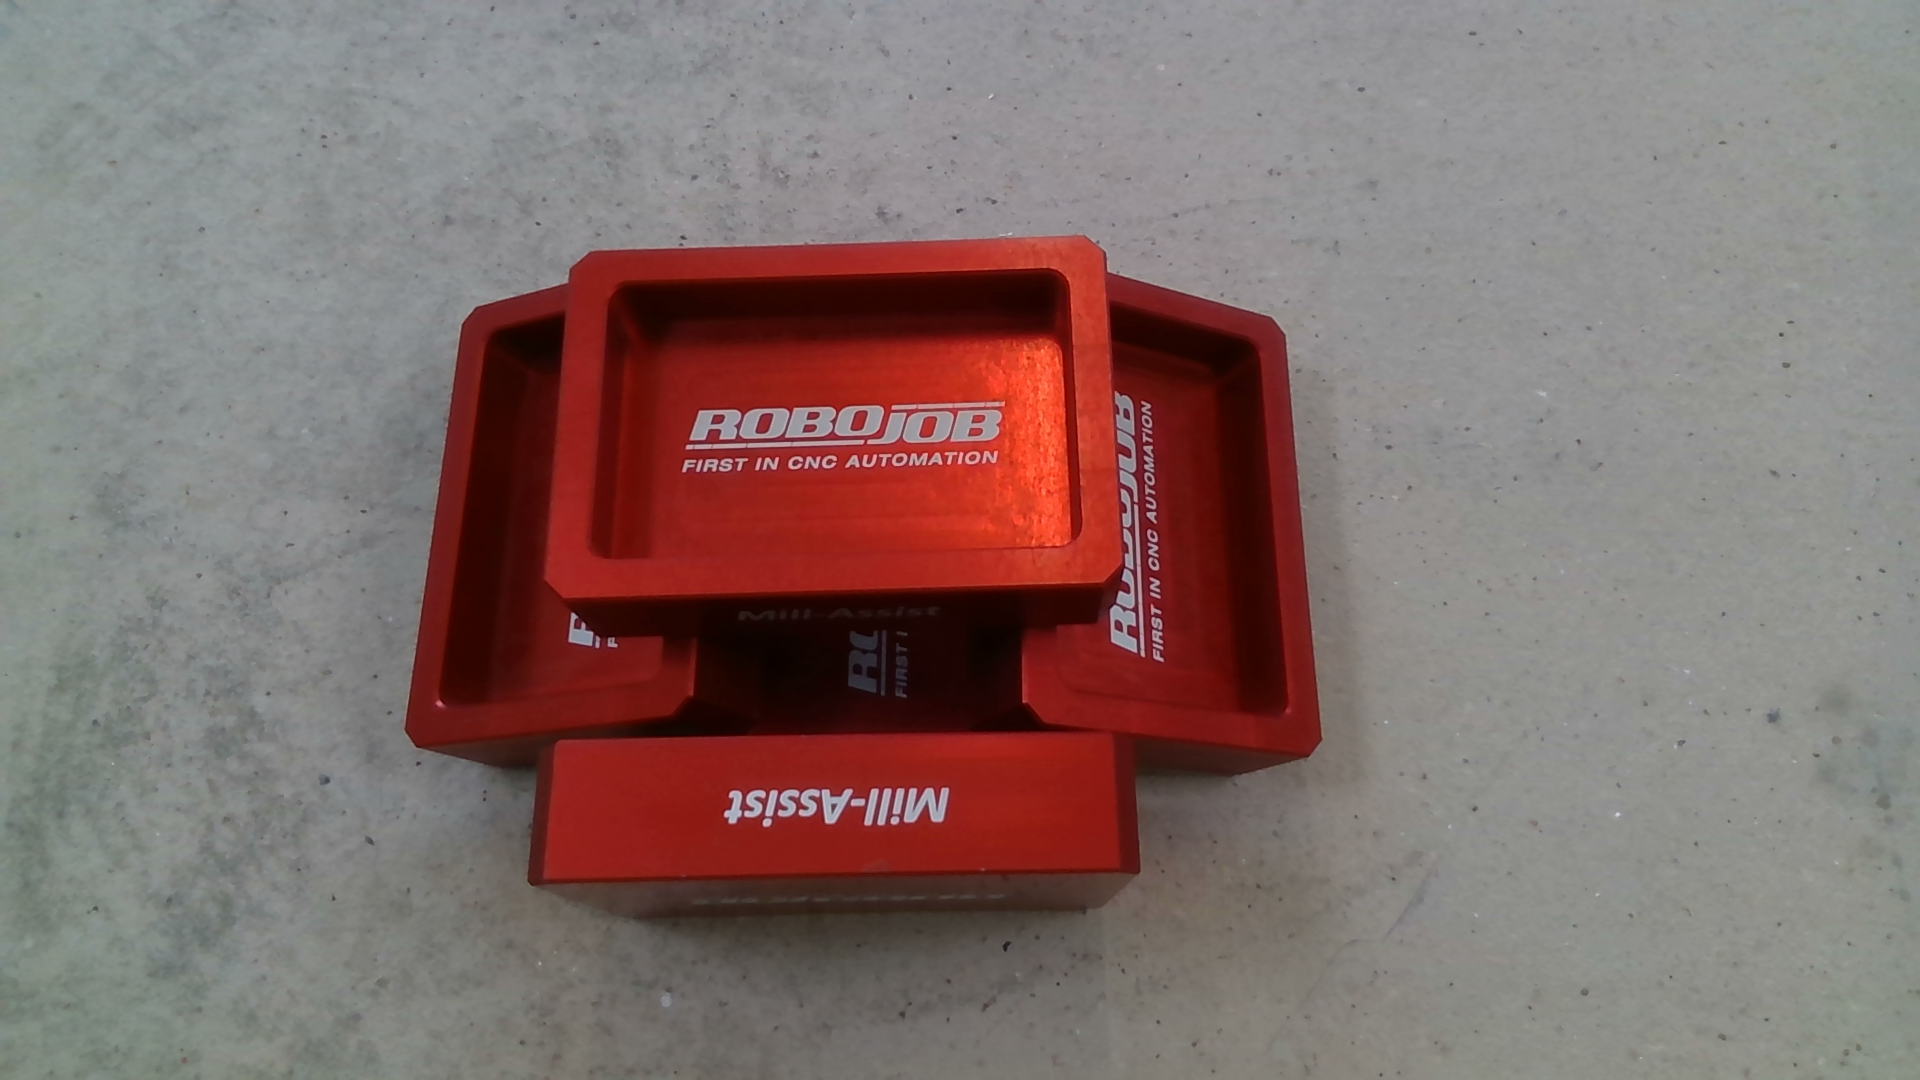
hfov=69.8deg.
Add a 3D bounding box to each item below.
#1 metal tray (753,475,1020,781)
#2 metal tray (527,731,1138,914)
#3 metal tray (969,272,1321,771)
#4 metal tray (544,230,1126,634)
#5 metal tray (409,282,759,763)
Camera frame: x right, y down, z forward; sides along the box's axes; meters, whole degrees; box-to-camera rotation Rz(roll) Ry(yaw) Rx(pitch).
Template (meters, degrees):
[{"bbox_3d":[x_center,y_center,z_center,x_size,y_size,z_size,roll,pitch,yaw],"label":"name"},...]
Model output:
[{"bbox_3d":[-0.022,0.004,0.390,0.090,0.030,0.130,-1,70,1],"label":"metal tray"},{"bbox_3d":[-0.027,0.072,0.335,0.130,0.090,0.030,-1,70,0],"label":"metal tray"},{"bbox_3d":[0.049,-0.007,0.377,0.090,0.030,0.130,9,69,-25],"label":"metal tray"},{"bbox_3d":[-0.029,-0.026,0.333,0.130,0.030,0.090,-2,70,2],"label":"metal tray"},{"bbox_3d":[-0.099,-0.009,0.378,0.090,0.030,0.130,-9,69,23],"label":"metal tray"}]
